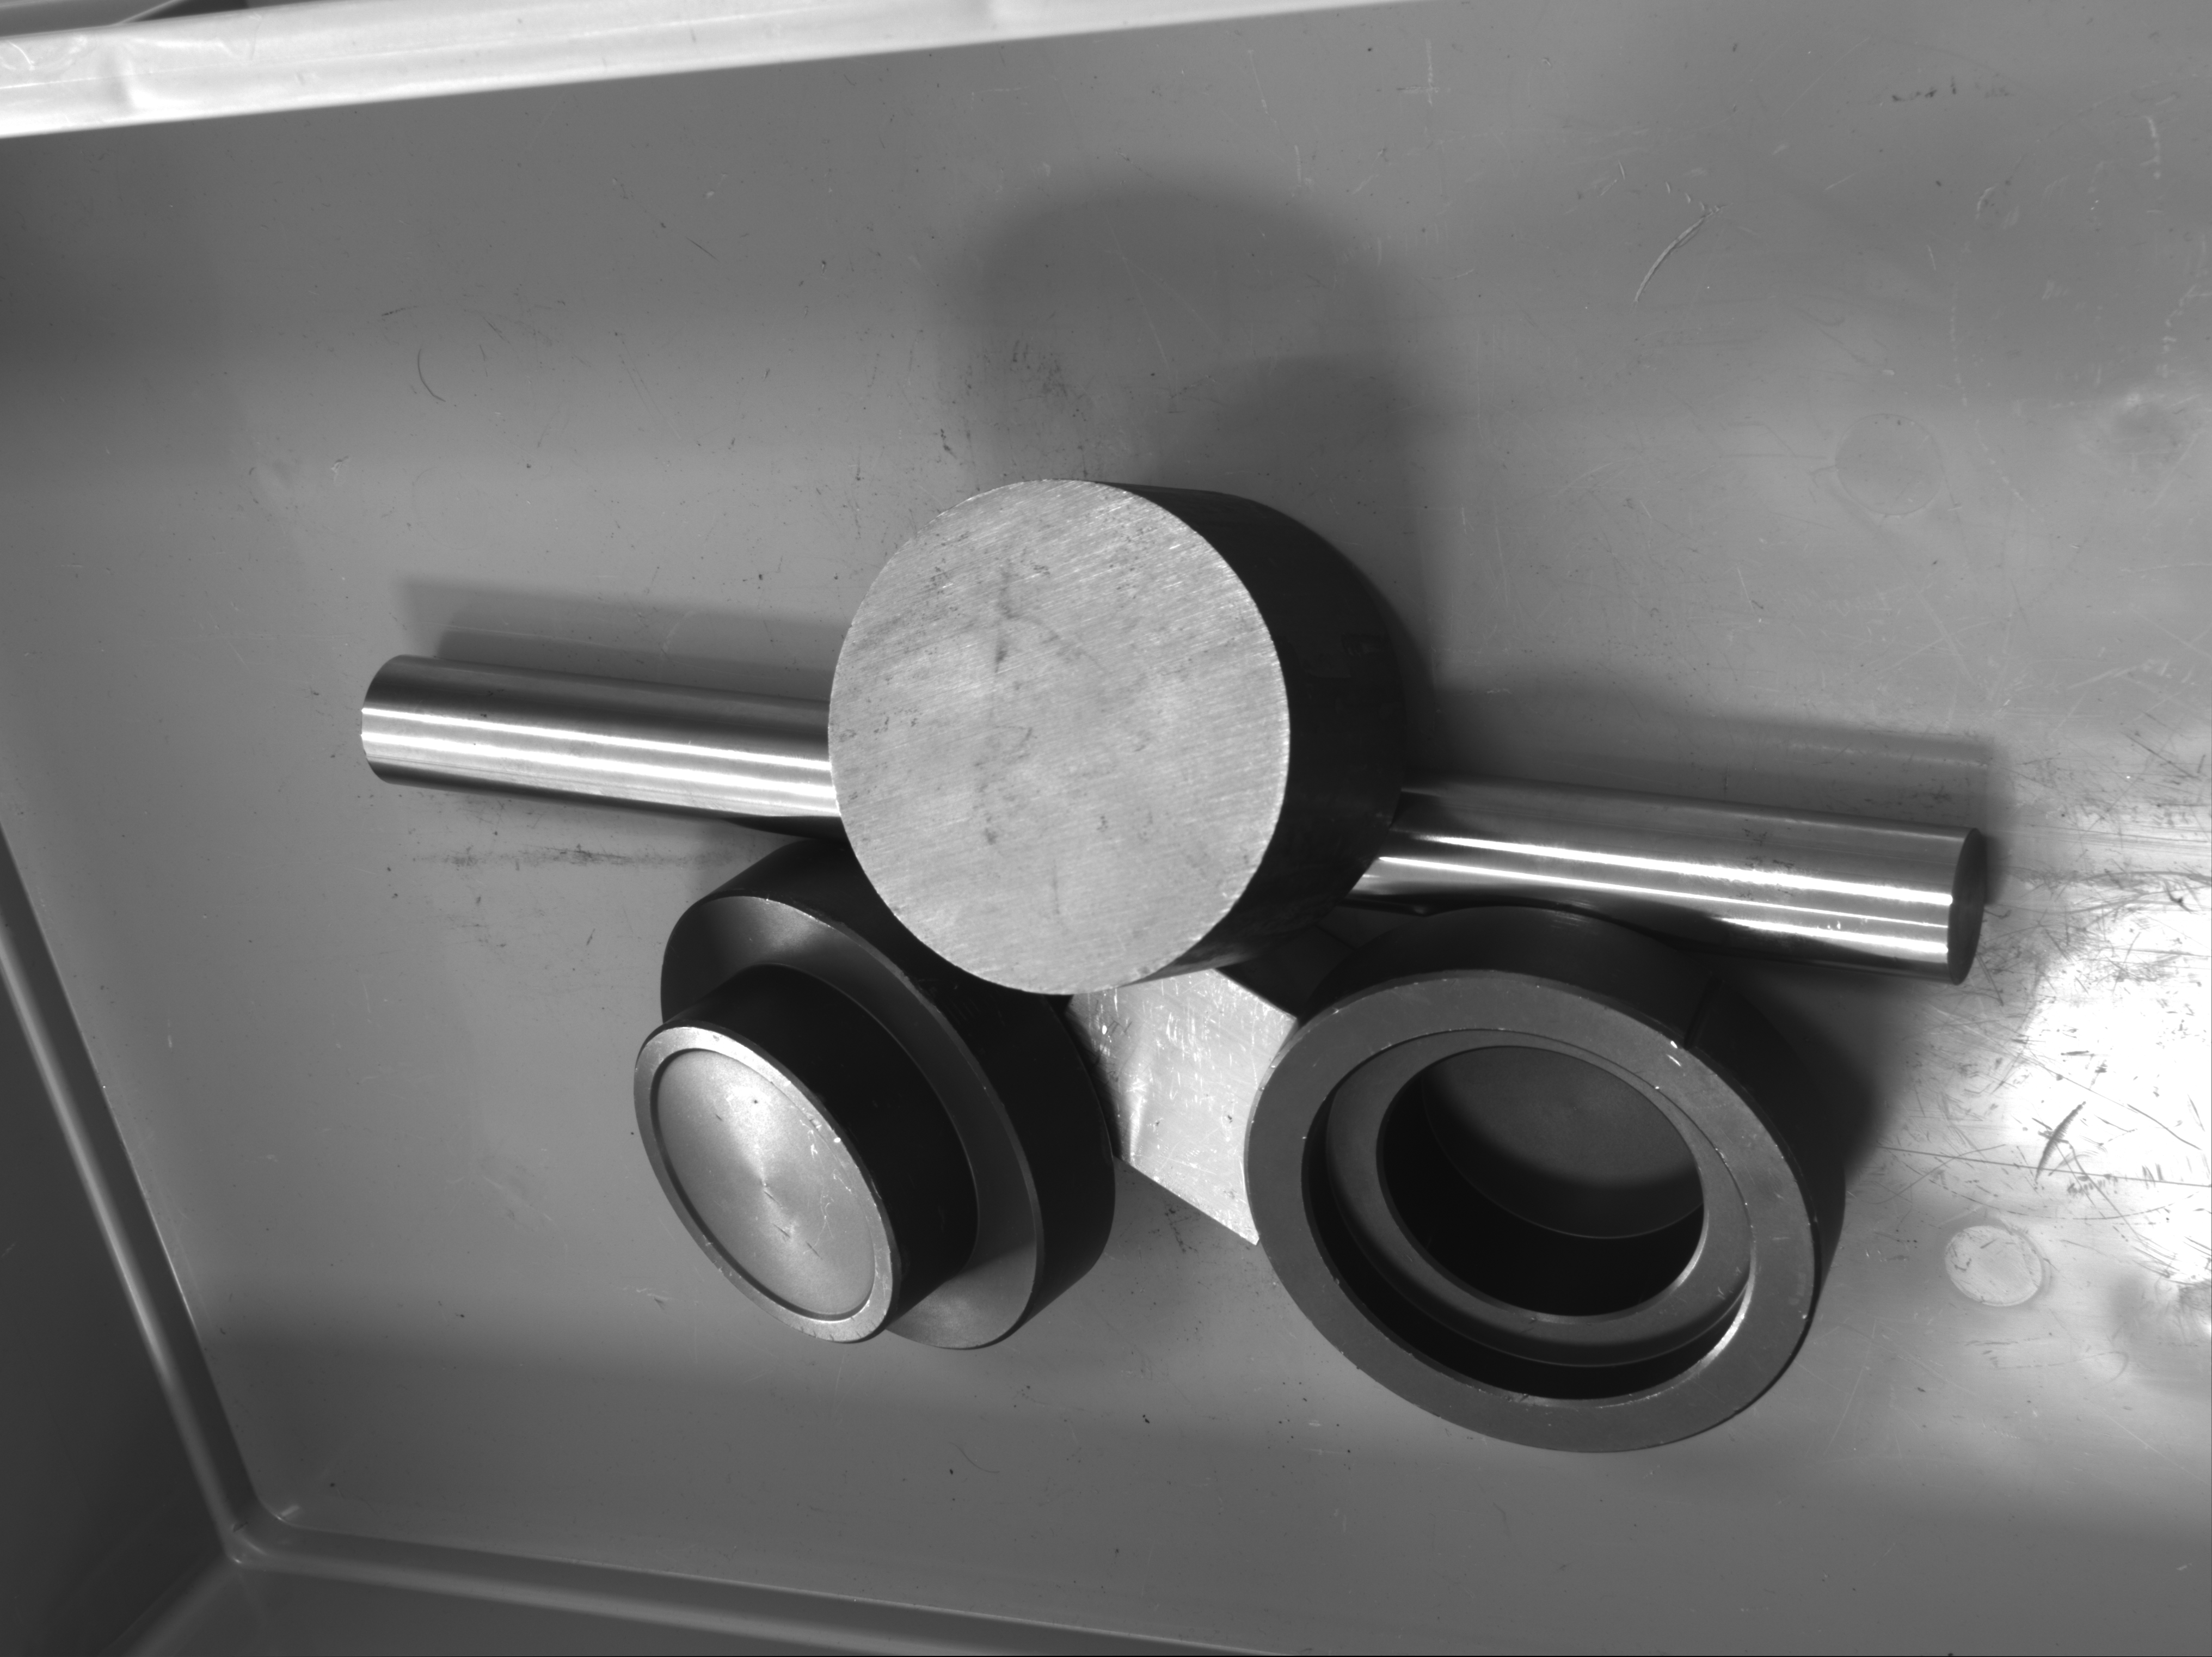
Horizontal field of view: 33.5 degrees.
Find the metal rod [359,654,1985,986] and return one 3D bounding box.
[{"bbox_3d":[0.000,-0.004,0.639,0.299,0.025,0.025,7,121,25],"label":"metal rod"}]

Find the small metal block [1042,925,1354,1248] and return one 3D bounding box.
[{"bbox_3d":[0.020,0.038,0.654,0.050,0.025,0.050,32,129,8],"label":"small metal block"}]

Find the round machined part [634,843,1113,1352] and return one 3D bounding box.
[{"bbox_3d":[-0.048,0.055,0.673,0.098,0.042,0.098,29,137,32],"label":"round machined part"}]

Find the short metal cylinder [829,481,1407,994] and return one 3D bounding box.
[{"bbox_3d":[0.002,-0.015,0.595,0.080,0.050,0.080,1,93,25],"label":"short metal cylinder"}]

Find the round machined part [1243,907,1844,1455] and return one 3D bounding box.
[{"bbox_3d":[0.076,0.054,0.620,0.098,0.042,0.098,12,125,18],"label":"round machined part"}]
